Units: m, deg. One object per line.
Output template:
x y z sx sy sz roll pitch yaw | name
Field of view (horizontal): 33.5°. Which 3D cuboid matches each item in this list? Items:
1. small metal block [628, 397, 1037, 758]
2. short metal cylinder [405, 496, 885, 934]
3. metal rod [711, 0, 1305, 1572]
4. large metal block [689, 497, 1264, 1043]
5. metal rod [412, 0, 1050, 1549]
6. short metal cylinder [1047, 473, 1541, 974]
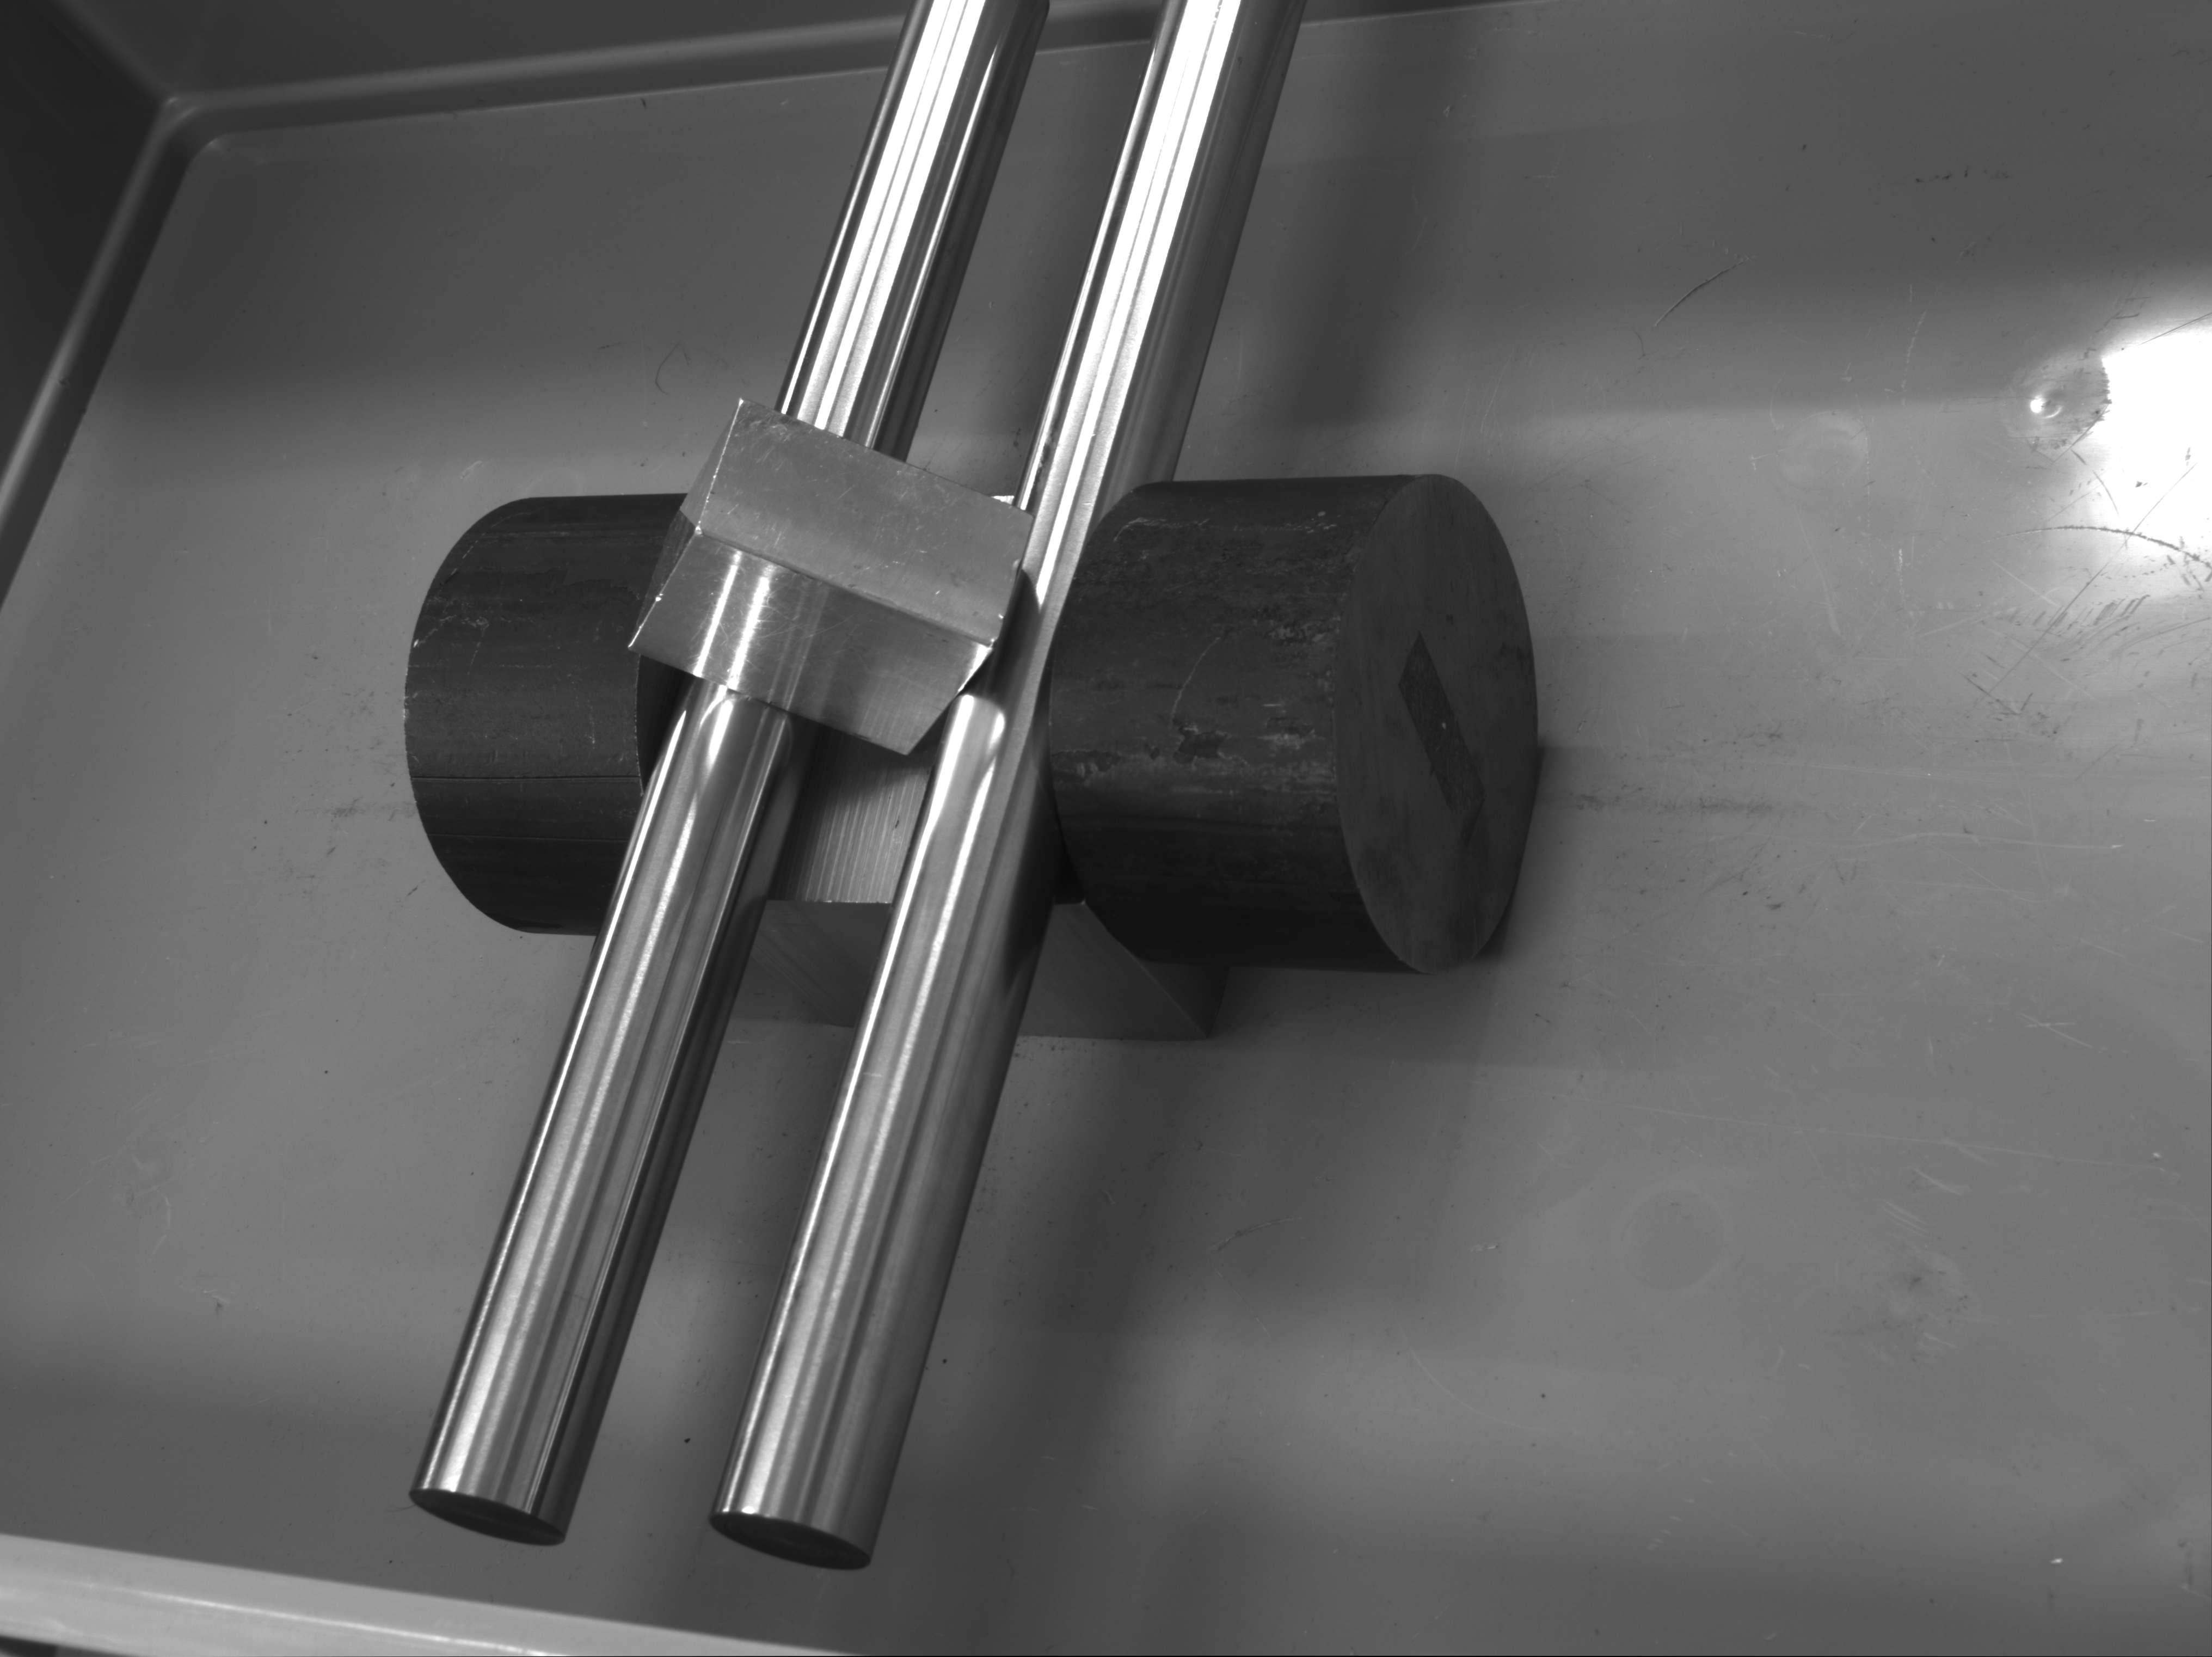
-0.045 -0.040 0.595 0.050 0.050 0.025 136 152 -62 | small metal block
-0.081 -0.020 0.665 0.050 0.080 0.080 1 62 29 | short metal cylinder
-0.010 -0.027 0.602 0.025 0.025 0.300 1 62 29 | metal rod
-0.019 -0.011 0.644 0.080 0.050 0.080 1 62 29 | large metal block
-0.059 -0.025 0.627 0.025 0.025 0.300 1 62 29 | metal rod
0.032 -0.017 0.601 0.050 0.080 0.080 0 62 30 | short metal cylinder
